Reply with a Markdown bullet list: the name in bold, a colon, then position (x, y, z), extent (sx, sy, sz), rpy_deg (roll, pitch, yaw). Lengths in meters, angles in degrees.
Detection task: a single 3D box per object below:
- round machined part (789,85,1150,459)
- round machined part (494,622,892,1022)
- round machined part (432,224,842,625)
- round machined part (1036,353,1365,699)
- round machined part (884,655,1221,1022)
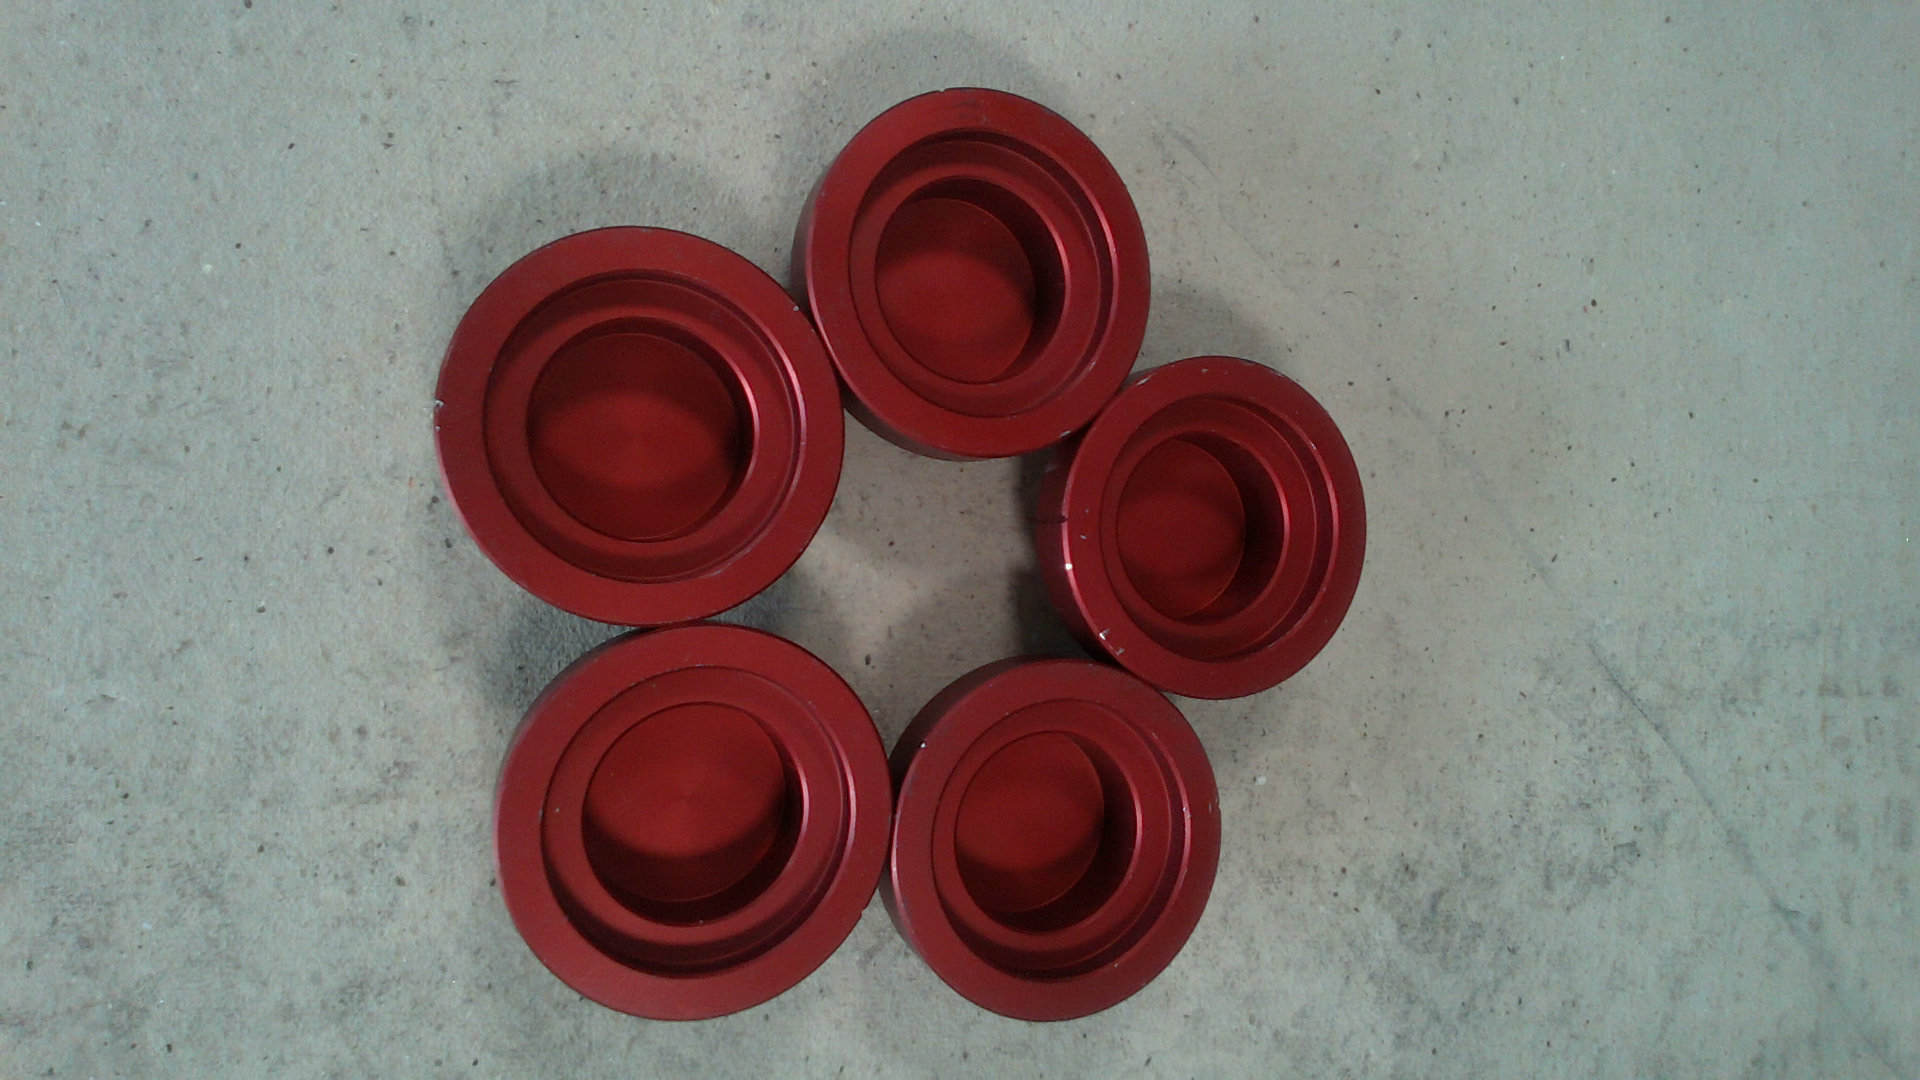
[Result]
- **round machined part**: position (0.000, -0.071, 0.384), extent (0.098, 0.042, 0.098), rpy_deg (1, 89, -21)
- **round machined part**: position (-0.070, 0.070, 0.358), extent (0.098, 0.042, 0.098), rpy_deg (1, 89, -21)
- **round machined part**: position (-0.083, -0.028, 0.354), extent (0.098, 0.042, 0.098), rpy_deg (1, 88, -20)
- **round machined part**: position (0.067, -0.004, 0.408), extent (0.098, 0.042, 0.098), rpy_deg (1, 89, -21)
- **round machined part**: position (0.021, 0.082, 0.393), extent (0.098, 0.042, 0.098), rpy_deg (0, 89, -21)
